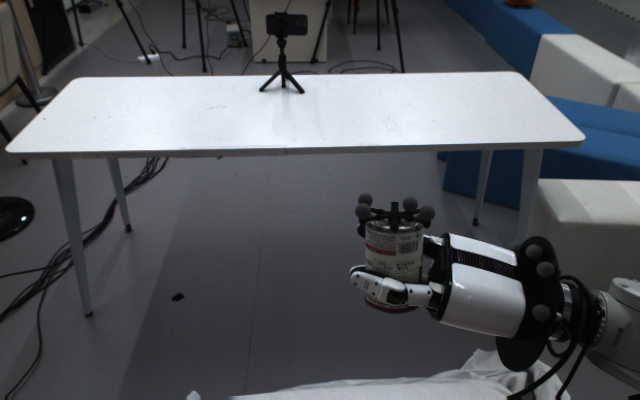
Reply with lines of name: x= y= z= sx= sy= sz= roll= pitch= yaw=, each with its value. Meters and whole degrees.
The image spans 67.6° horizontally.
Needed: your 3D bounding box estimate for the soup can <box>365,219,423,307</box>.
soup can: x=0.088 y=0.071 z=0.562 sx=0.067 sy=0.101 sz=0.067 roll=-1 pitch=17 yaw=0
